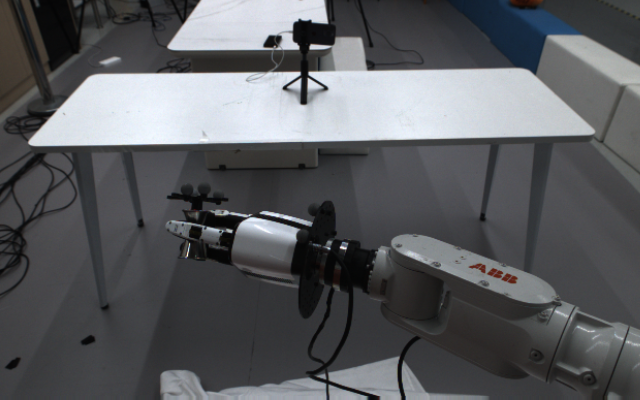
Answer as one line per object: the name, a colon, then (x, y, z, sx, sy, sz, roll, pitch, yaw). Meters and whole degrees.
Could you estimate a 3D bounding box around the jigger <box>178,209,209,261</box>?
jigger: (-0.176, 0.049, 0.685, 0.043, 0.071, 0.043, 2, -6, 0)
